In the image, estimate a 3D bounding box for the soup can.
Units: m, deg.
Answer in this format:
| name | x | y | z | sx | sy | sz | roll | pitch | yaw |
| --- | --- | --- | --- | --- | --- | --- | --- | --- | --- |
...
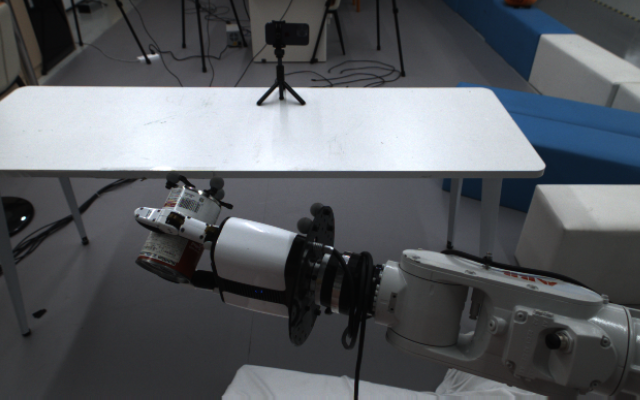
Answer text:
| name | x | y | z | sx | sy | sz | roll | pitch | yaw |
| --- | --- | --- | --- | --- | --- | --- | --- | --- | --- |
| soup can | -0.168 | 0.043 | 0.588 | 0.067 | 0.067 | 0.101 | 13 | 66 | 15 |
